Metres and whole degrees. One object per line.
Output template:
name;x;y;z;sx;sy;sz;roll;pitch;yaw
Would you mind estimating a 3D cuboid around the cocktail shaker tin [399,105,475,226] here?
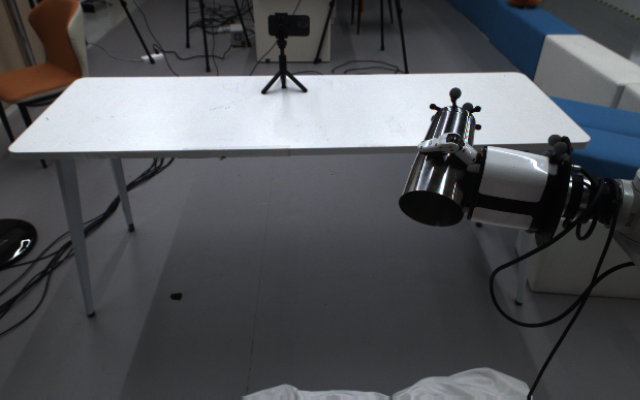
cocktail shaker tin;0.183;-0.057;0.720;0.093;0.093;0.170;14;60;16
